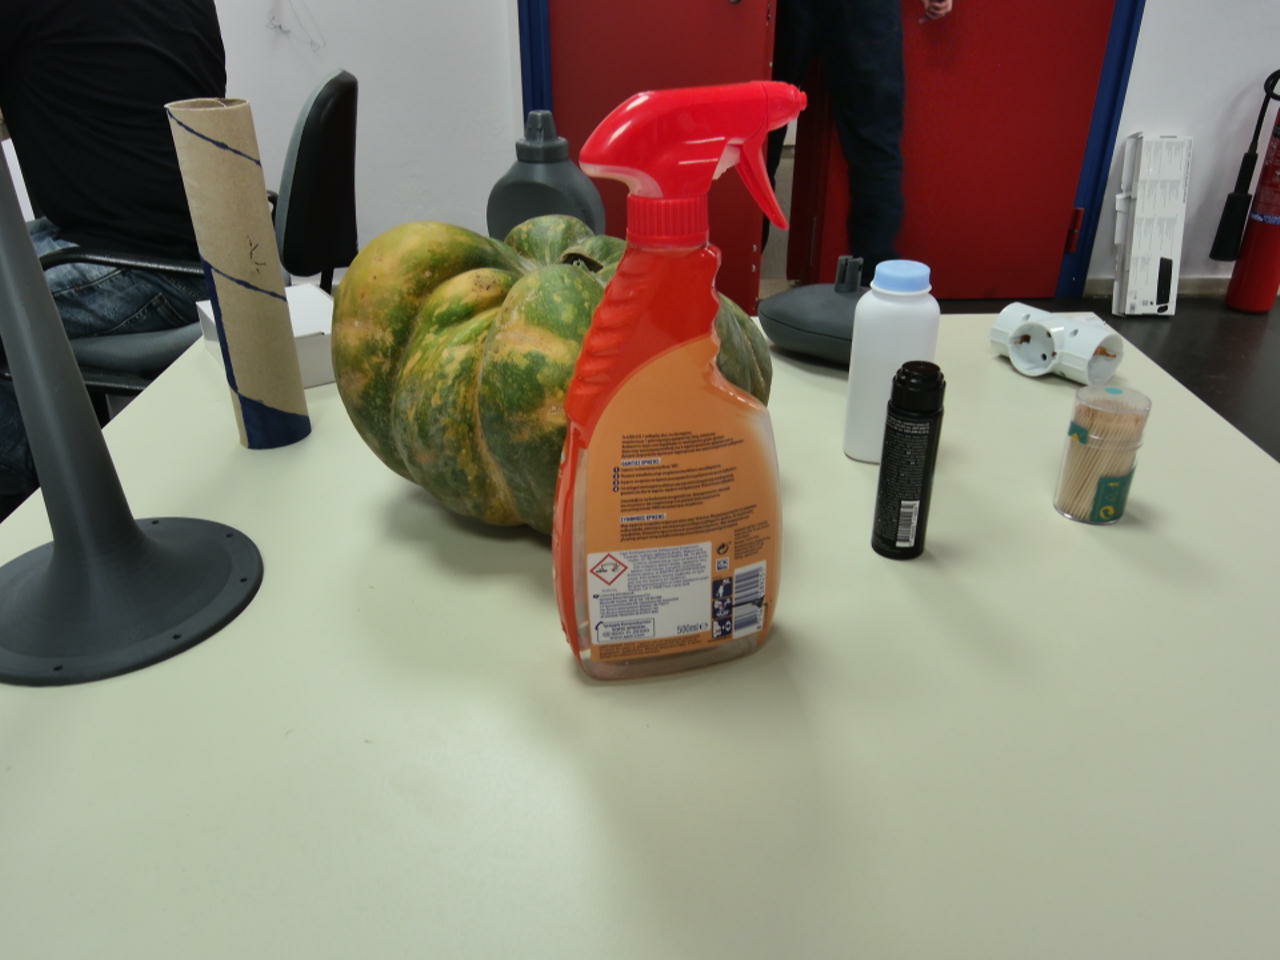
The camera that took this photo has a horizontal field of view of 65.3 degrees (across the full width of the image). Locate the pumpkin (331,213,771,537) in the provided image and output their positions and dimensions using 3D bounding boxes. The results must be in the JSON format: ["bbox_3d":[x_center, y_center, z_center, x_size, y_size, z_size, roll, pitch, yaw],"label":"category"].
[{"bbox_3d":[-0.051,-0.072,0.603,0.270,0.173,0.237,18,32,33],"label":"pumpkin"}]
